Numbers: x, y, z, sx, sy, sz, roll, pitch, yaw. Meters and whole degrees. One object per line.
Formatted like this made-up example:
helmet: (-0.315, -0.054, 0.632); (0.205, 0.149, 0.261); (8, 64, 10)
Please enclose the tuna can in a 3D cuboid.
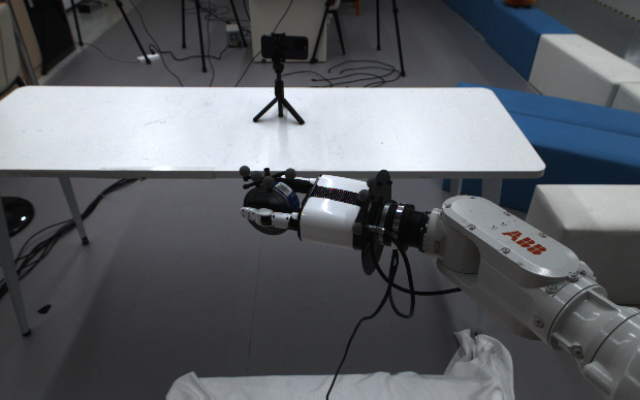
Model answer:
tuna can: (-0.075, 0.011, 0.768); (0.085, 0.085, 0.034); (14, 29, 17)
